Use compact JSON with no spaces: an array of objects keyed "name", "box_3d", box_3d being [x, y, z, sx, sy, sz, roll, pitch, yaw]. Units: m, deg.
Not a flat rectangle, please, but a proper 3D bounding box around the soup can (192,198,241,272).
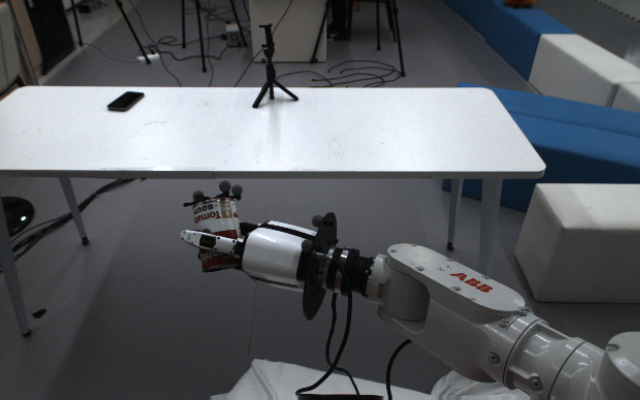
[{"name":"soup can","box_3d":[-0.154,0.056,0.740,0.067,0.067,0.101,-10,80,-17]}]
